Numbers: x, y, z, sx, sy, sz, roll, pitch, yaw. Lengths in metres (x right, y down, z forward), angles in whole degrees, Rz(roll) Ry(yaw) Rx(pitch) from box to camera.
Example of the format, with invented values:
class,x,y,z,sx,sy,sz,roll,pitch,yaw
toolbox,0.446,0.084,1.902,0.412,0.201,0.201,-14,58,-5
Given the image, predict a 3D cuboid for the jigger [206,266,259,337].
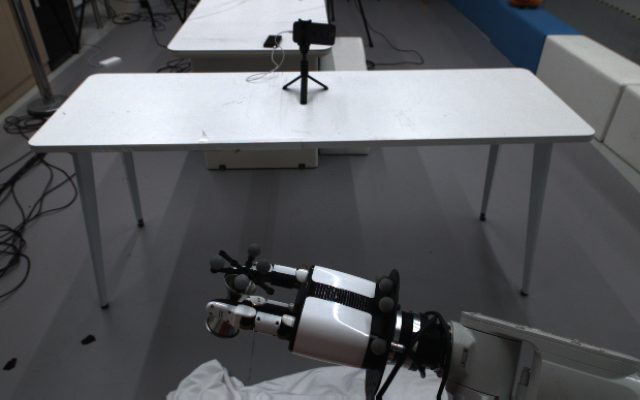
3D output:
class,x,y,z,sx,sy,sz,roll,pitch,yaw
jigger,-0.109,0.130,0.597,0.043,0.071,0.043,23,19,-8
